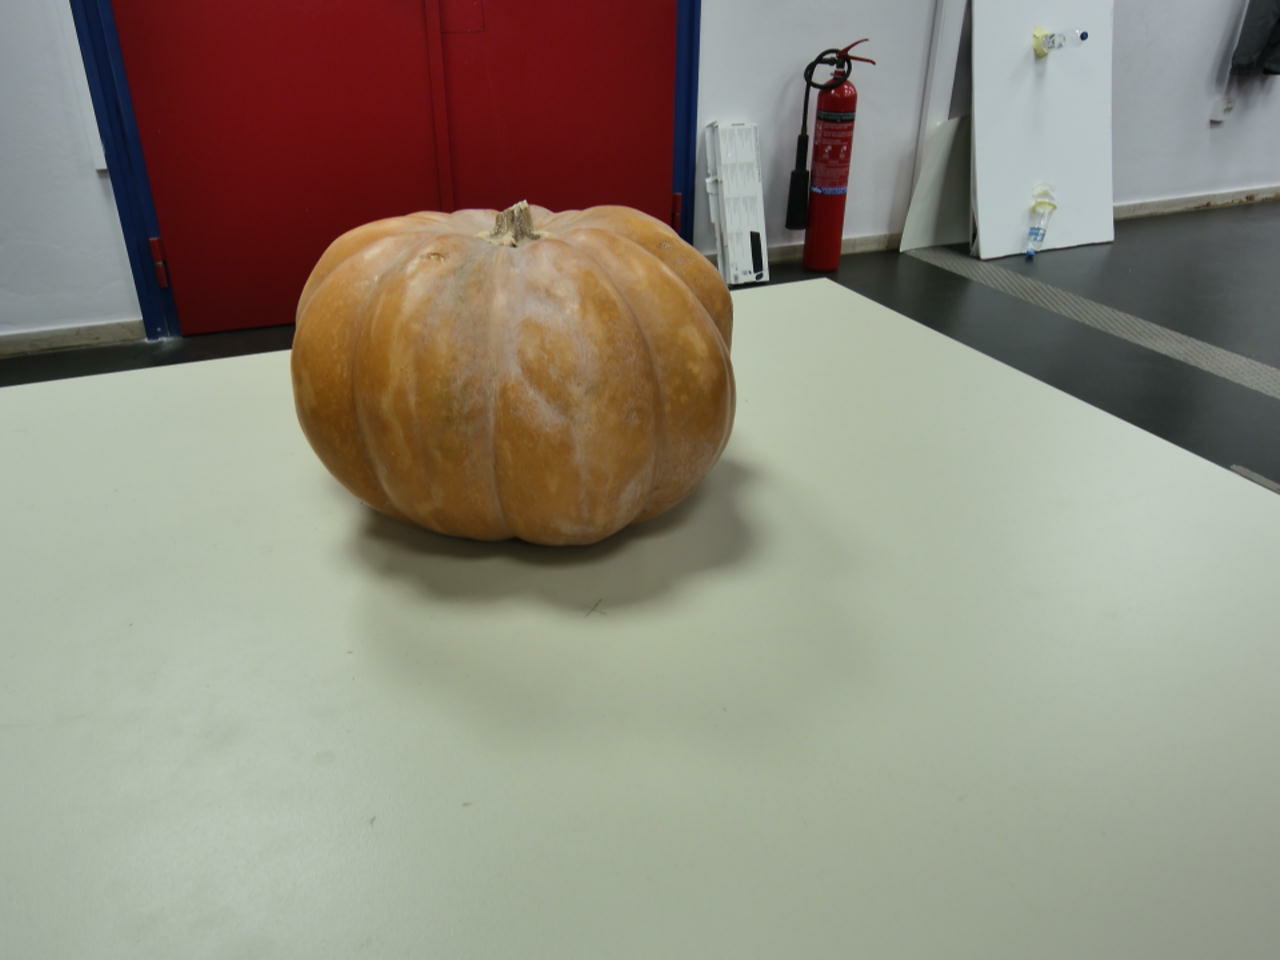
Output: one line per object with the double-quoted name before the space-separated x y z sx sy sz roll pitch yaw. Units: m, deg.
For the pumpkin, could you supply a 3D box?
"pumpkin" -0.069 -0.069 0.587 0.277 0.181 0.277 0 26 0
